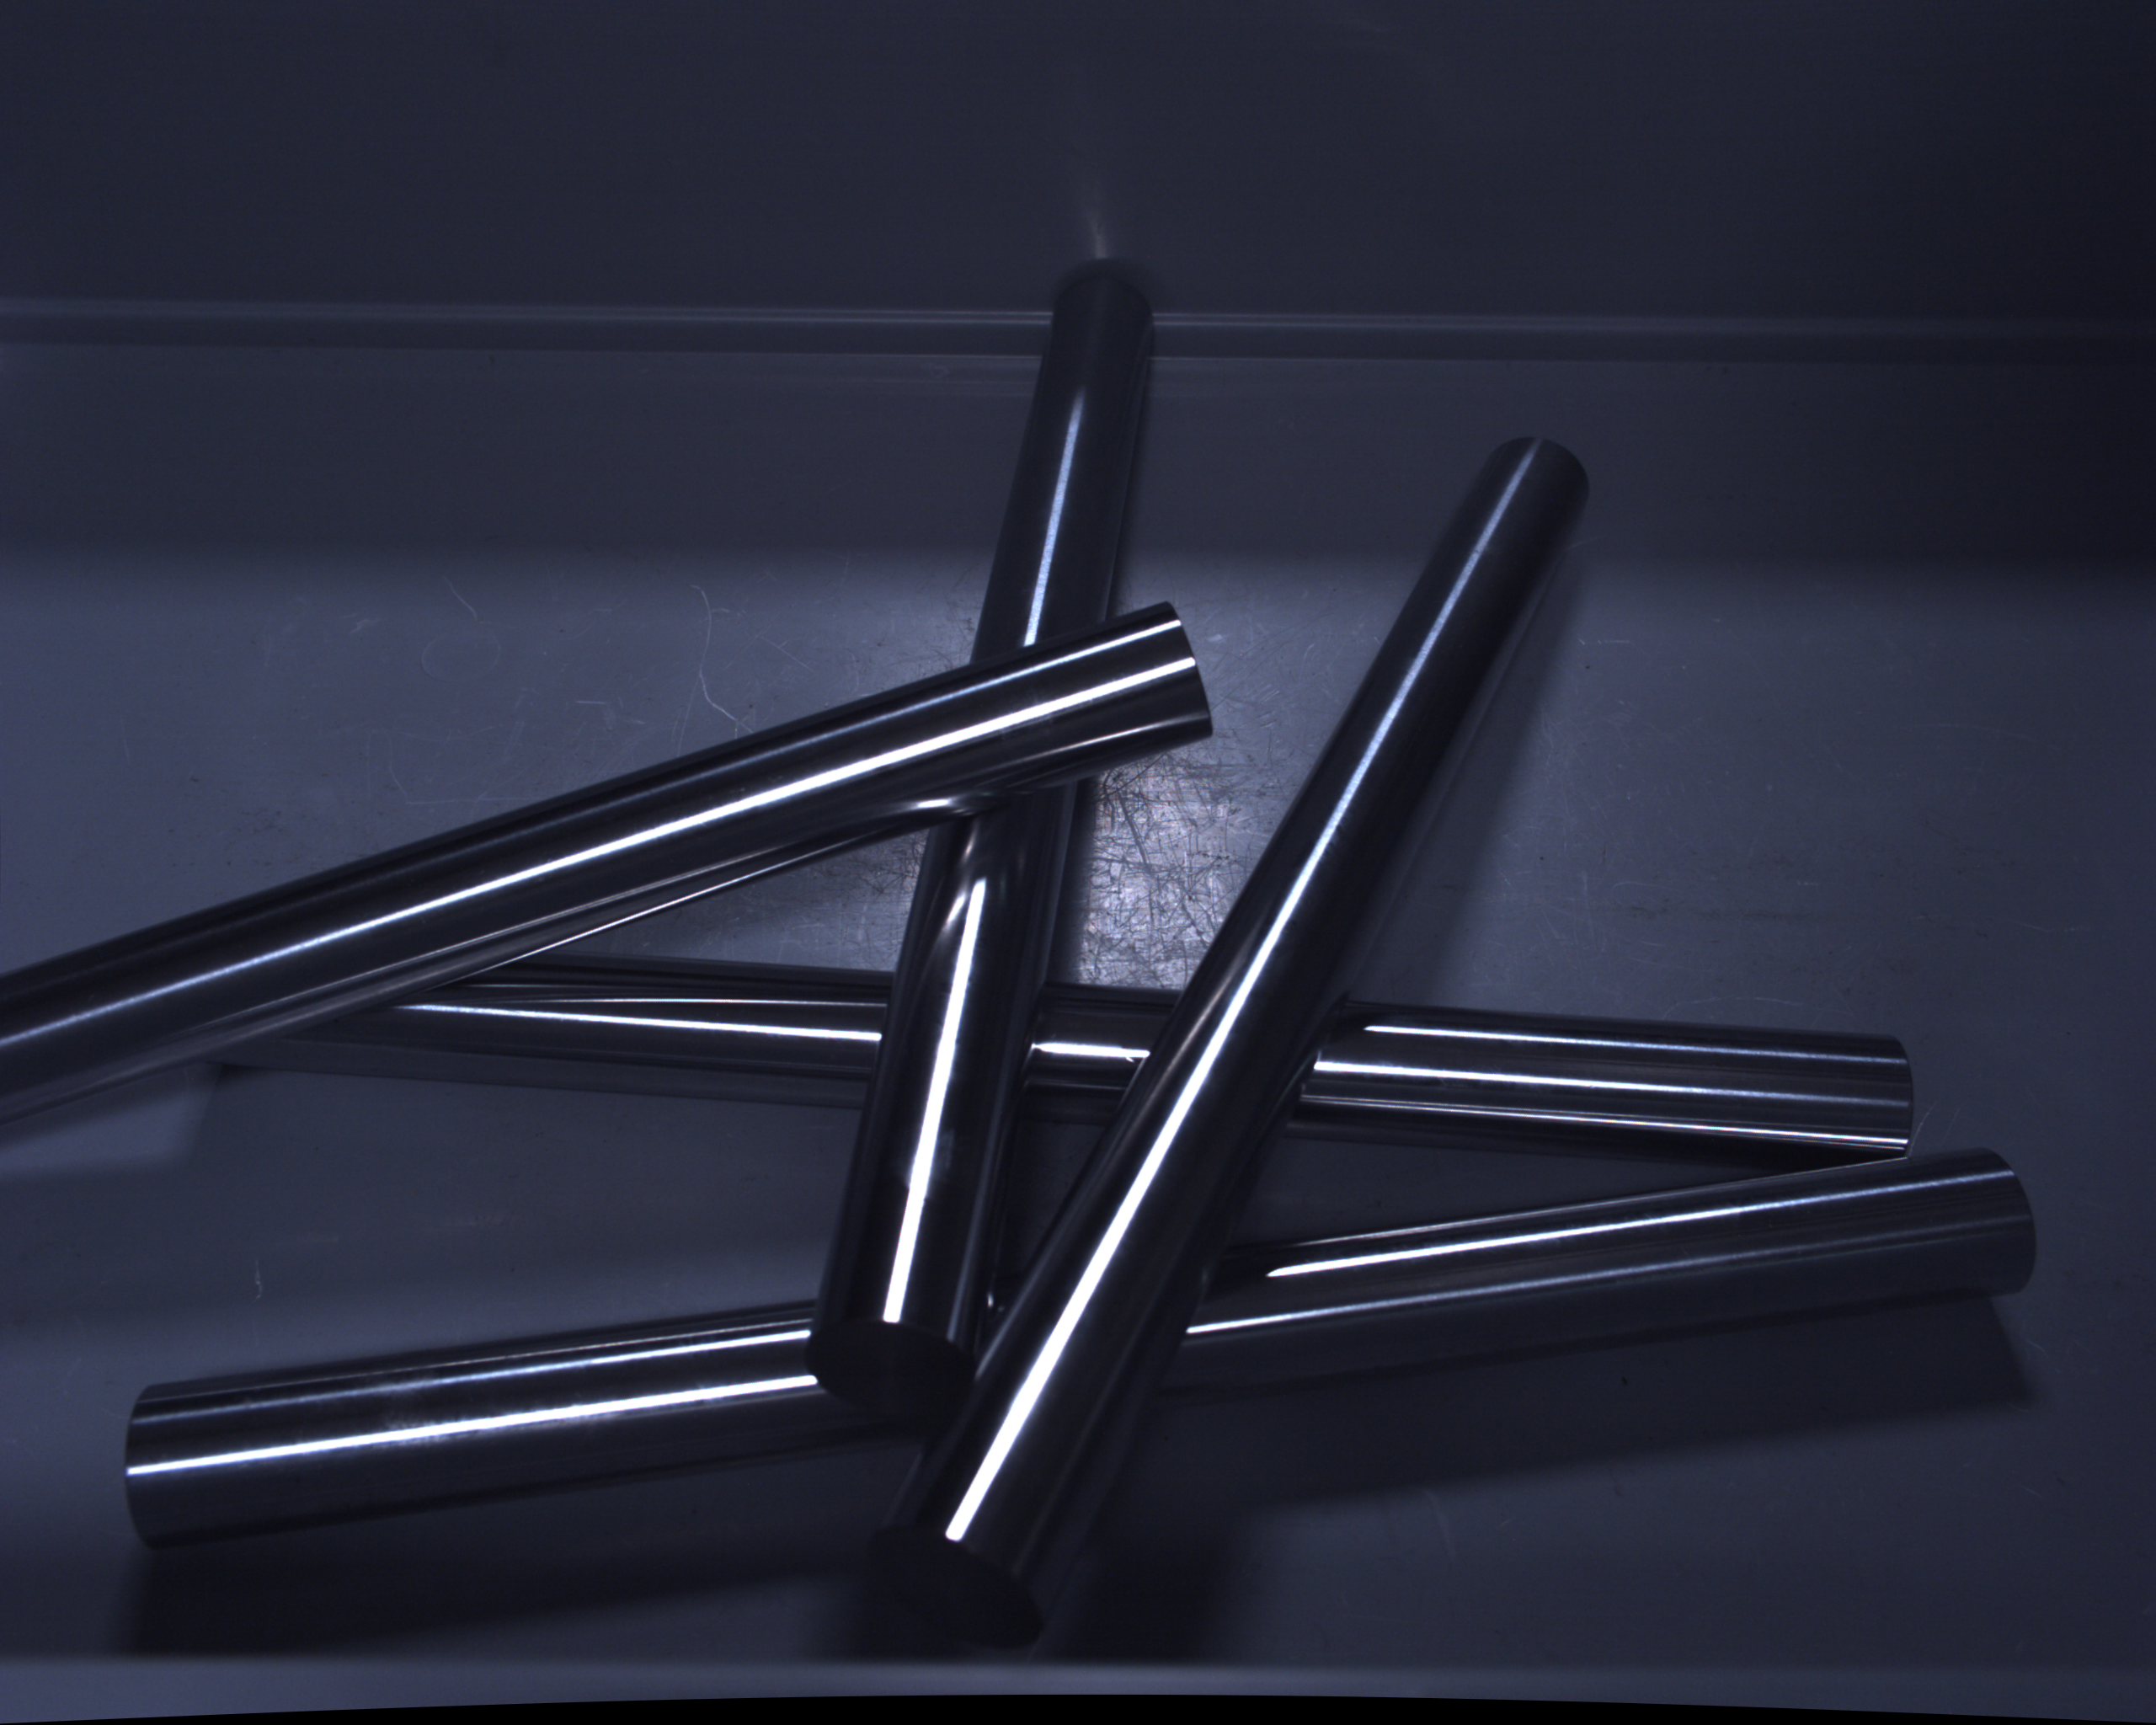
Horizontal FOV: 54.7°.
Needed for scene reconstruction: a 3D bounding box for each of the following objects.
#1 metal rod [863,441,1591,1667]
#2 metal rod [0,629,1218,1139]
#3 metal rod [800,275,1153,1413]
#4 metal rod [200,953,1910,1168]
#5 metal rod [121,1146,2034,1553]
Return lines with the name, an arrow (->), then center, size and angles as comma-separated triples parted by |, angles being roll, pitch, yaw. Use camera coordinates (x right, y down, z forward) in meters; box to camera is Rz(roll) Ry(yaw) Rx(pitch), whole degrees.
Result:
metal rod -> 0.044, 0.006, 0.373 | 0.025, 0.025, 0.301 | 19, 45, 15
metal rod -> -0.122, 0.015, 0.356 | 0.302, 0.025, 0.025 | -18, 52, -8
metal rod -> -0.011, -0.031, 0.406 | 0.025, 0.025, 0.300 | 5, 44, 4
metal rod -> -0.008, 0.034, 0.375 | 0.302, 0.025, 0.025 | 4, 50, 2
metal rod -> 0.006, 0.077, 0.338 | 0.302, 0.025, 0.025 | -6, 51, -6
